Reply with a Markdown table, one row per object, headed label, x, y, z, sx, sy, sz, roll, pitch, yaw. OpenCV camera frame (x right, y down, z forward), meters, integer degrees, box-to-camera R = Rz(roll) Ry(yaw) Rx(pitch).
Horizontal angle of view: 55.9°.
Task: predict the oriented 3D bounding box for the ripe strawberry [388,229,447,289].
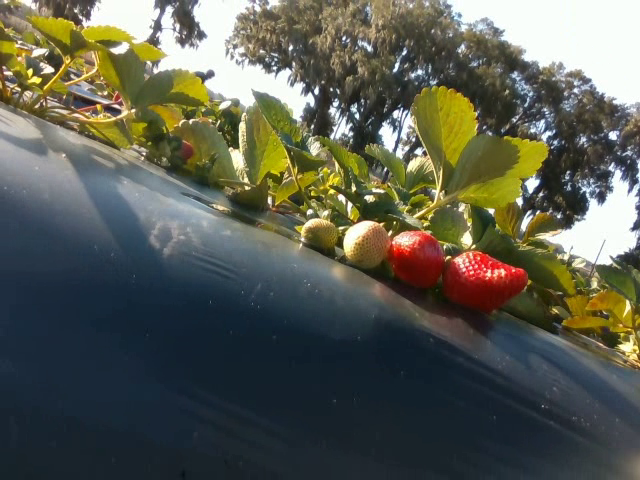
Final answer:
| label | x | y | z | sx | sy | sz | roll | pitch | yaw |
| --- | --- | --- | --- | --- | --- | --- | --- | --- | --- |
| ripe strawberry | 0.065 | 0.009 | 0.401 | 0.051 | 0.043 | 0.061 | 44 | -2 | 16 |

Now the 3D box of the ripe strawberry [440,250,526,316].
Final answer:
| label | x | y | z | sx | sy | sz | roll | pitch | yaw |
| --- | --- | --- | --- | --- | --- | --- | --- | --- | --- |
| ripe strawberry | 0.116 | 0.028 | 0.399 | 0.056 | 0.051 | 0.067 | -12 | 0 | -36 |
